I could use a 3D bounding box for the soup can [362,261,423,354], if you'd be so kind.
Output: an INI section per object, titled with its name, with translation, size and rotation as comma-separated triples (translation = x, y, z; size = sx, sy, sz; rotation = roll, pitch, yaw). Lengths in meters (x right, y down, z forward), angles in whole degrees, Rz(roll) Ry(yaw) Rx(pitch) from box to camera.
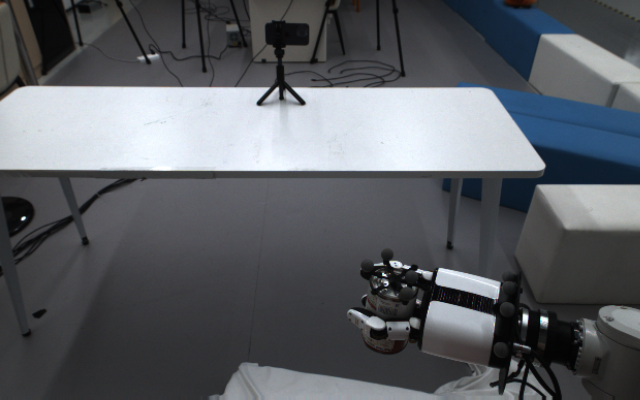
[soup can]
translation = 0.098, 0.152, 0.668
size = 0.067, 0.101, 0.067
rotation = 3, 30, -2
